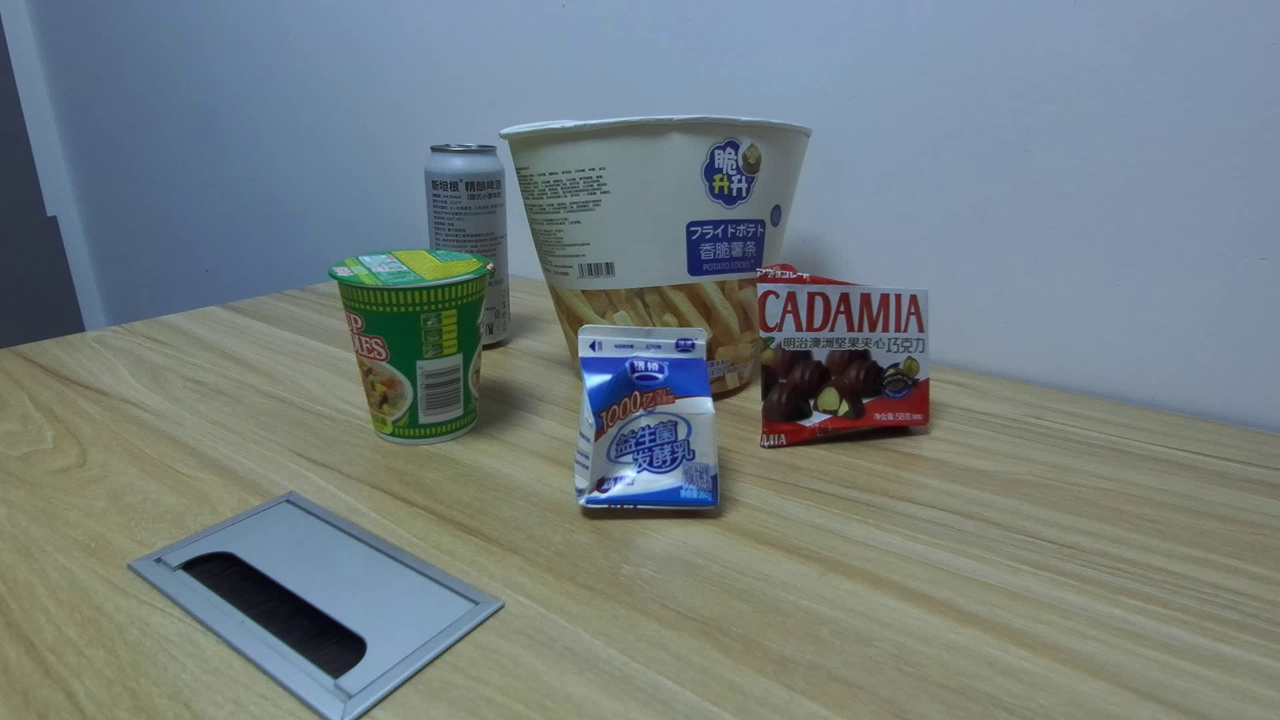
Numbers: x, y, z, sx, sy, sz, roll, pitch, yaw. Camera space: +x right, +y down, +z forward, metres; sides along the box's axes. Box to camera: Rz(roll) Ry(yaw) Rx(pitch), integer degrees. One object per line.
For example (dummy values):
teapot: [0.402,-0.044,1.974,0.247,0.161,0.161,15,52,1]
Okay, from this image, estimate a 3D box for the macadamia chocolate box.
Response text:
macadamia chocolate box: [0.132,-0.007,0.469,0.127,0.112,0.056,-3,20,-11]

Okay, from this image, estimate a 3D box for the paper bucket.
paper bucket: [0.019,-0.082,0.545,0.147,0.199,0.219,15,23,34]

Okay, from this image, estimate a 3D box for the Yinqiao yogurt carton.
Yinqiao yogurt carton: [0.004,0.027,0.393,0.077,0.094,0.071,0,15,-2]

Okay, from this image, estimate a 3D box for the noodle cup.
noodle cup: [-0.143,-0.008,0.459,0.097,0.110,0.097,2,20,0]

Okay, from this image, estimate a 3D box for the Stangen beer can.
Stangen beer can: [-0.148,-0.096,0.611,0.067,0.171,0.067,1,19,0]
